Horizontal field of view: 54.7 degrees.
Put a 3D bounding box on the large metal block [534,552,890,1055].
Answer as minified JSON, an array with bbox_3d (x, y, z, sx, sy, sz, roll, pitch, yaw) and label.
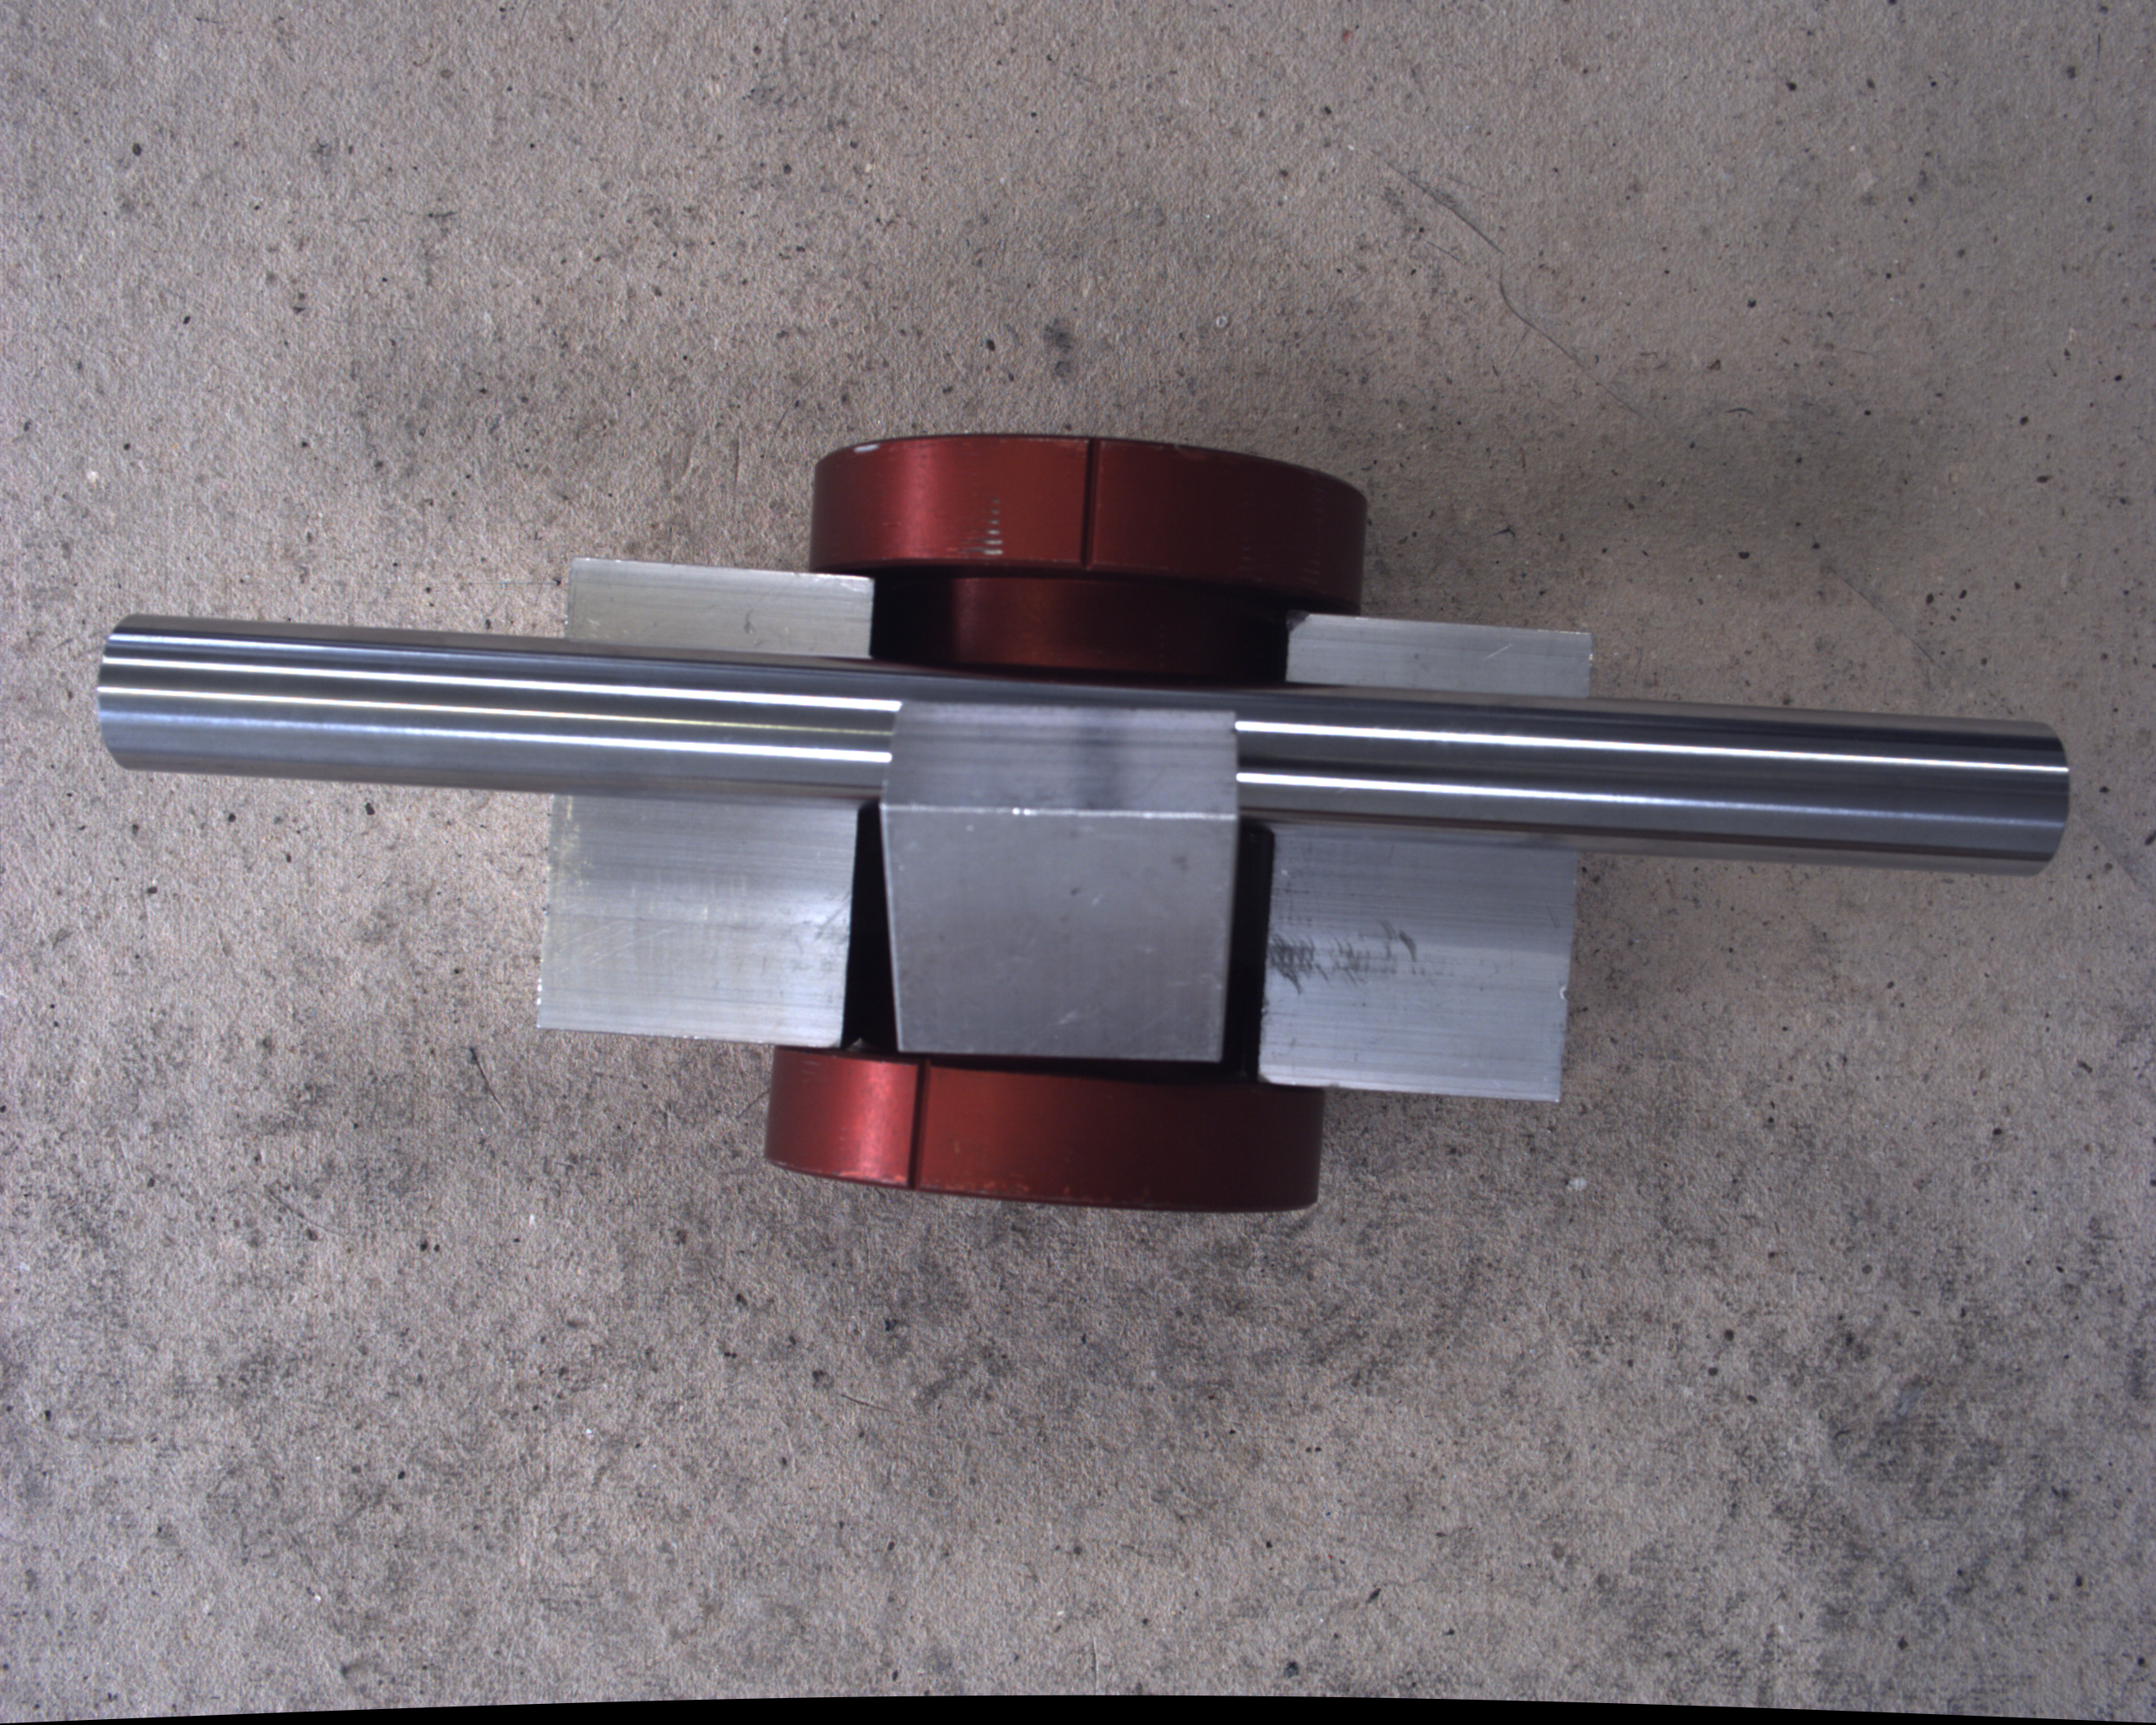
[{"bbox_3d":[-0.061,-0.010,0.383,0.050,0.080,0.080,4,90,0],"label":"large metal block"}]

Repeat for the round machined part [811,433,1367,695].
[{"bbox_3d":[0.001,-0.047,0.374,0.099,0.098,0.042,4,91,0],"label":"round machined part"}]

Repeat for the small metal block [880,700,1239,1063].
[{"bbox_3d":[-0.002,0.003,0.317,0.050,0.025,0.050,2,131,1],"label":"small metal block"}]

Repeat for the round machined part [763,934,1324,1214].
[{"bbox_3d":[-0.005,0.037,0.374,0.099,0.098,0.042,5,85,0],"label":"round machined part"}]

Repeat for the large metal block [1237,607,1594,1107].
[{"bbox_3d":[0.057,-0.001,0.384,0.050,0.080,0.080,4,90,0],"label":"large metal block"}]

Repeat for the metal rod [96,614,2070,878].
[{"bbox_3d":[0.001,-0.018,0.331,0.302,0.025,0.025,3,90,0],"label":"metal rod"}]
